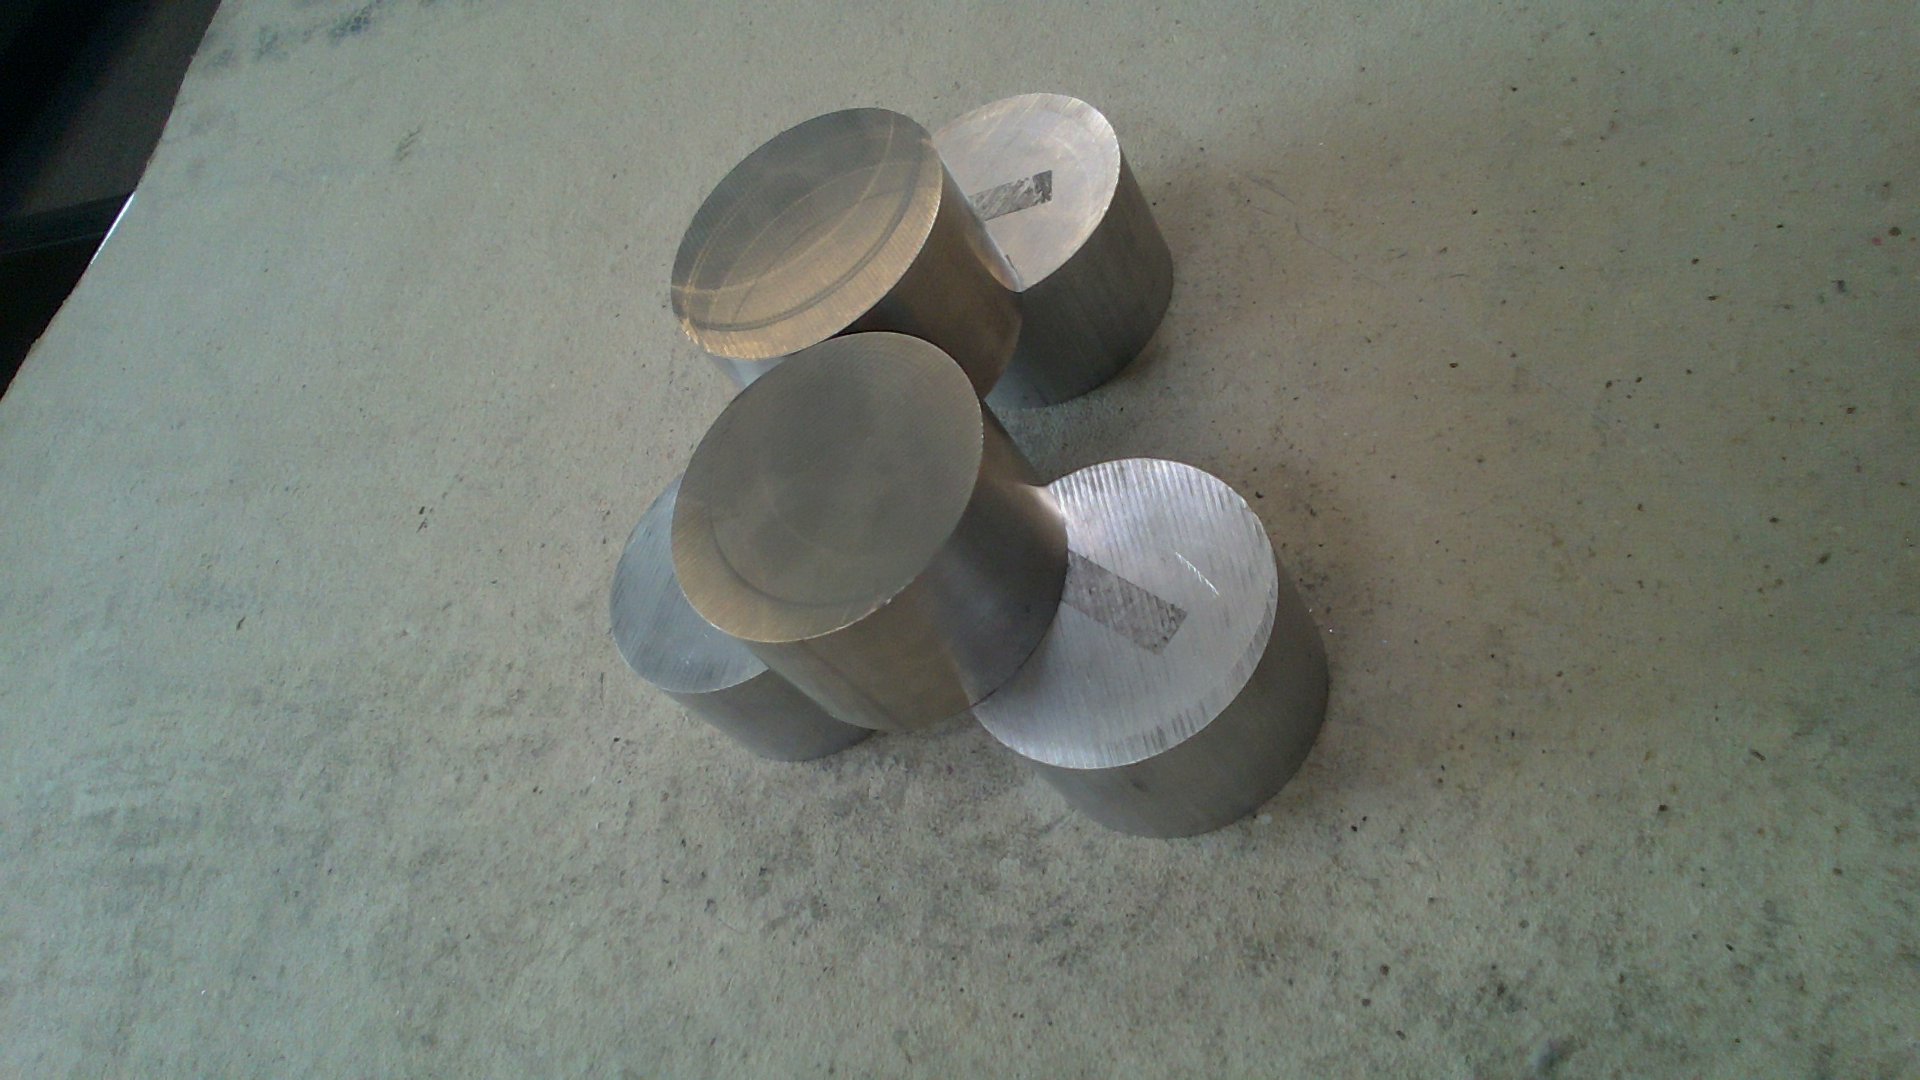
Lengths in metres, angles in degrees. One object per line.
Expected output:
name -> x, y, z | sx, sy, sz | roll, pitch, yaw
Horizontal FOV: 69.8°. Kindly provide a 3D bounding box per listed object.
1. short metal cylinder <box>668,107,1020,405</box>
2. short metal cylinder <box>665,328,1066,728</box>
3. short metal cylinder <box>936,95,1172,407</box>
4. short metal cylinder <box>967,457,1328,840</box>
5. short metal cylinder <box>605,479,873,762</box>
short metal cylinder -> -0.030, -0.068, 0.370 | 0.080, 0.050, 0.080 | -14, 55, 21
short metal cylinder -> -0.021, -0.002, 0.325 | 0.080, 0.050, 0.080 | -13, 56, 21
short metal cylinder -> 0.019, -0.088, 0.422 | 0.080, 0.050, 0.080 | -13, 56, 21
short metal cylinder -> 0.044, 0.027, 0.337 | 0.080, 0.050, 0.080 | -13, 56, 21
short metal cylinder -> -0.054, 0.017, 0.396 | 0.080, 0.050, 0.080 | -13, 56, 21
